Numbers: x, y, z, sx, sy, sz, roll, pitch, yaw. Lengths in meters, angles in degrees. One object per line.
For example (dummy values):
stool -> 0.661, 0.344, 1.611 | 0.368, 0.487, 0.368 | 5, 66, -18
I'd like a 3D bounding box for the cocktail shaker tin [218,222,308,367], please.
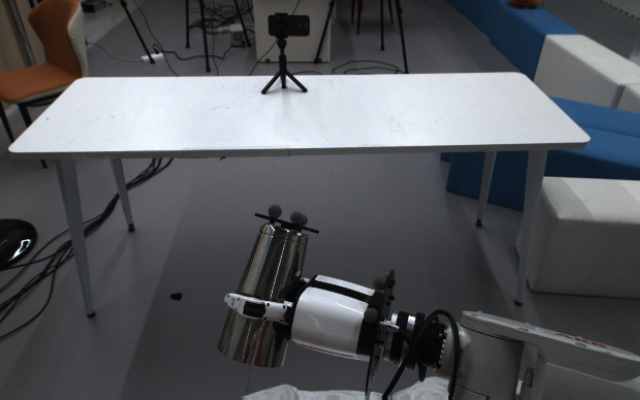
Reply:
cocktail shaker tin -> -0.067, 0.122, 0.642 | 0.093, 0.170, 0.093 | 15, -4, 1
